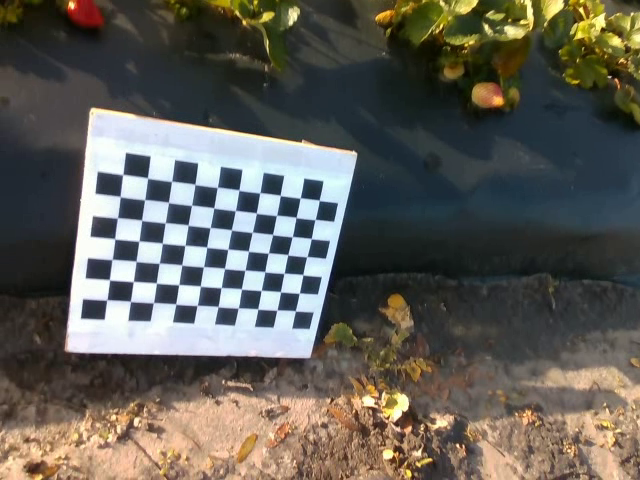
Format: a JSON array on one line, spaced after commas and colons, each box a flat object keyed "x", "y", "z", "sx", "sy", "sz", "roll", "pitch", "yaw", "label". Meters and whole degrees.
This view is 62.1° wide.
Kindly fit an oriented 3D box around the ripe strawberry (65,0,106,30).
[{"x": -0.224, "y": -0.228, "z": 0.526, "sx": 0.044, "sy": 0.030, "sz": 0.033, "roll": 40, "pitch": 6, "yaw": 8, "label": "ripe strawberry"}]
